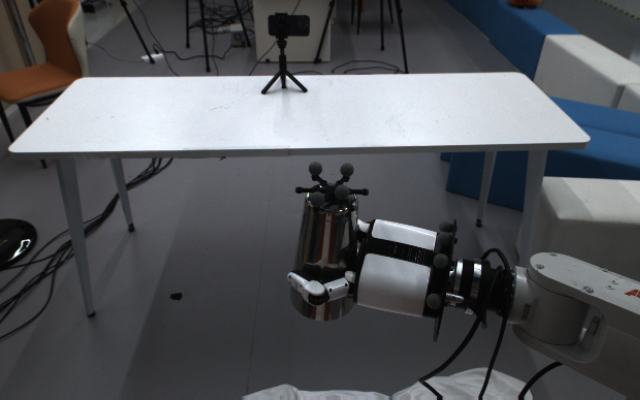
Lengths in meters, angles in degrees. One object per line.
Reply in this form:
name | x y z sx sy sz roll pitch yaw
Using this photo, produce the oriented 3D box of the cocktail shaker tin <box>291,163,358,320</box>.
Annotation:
cocktail shaker tin | 0.012 0.066 0.638 0.093 0.170 0.093 3 34 -2
